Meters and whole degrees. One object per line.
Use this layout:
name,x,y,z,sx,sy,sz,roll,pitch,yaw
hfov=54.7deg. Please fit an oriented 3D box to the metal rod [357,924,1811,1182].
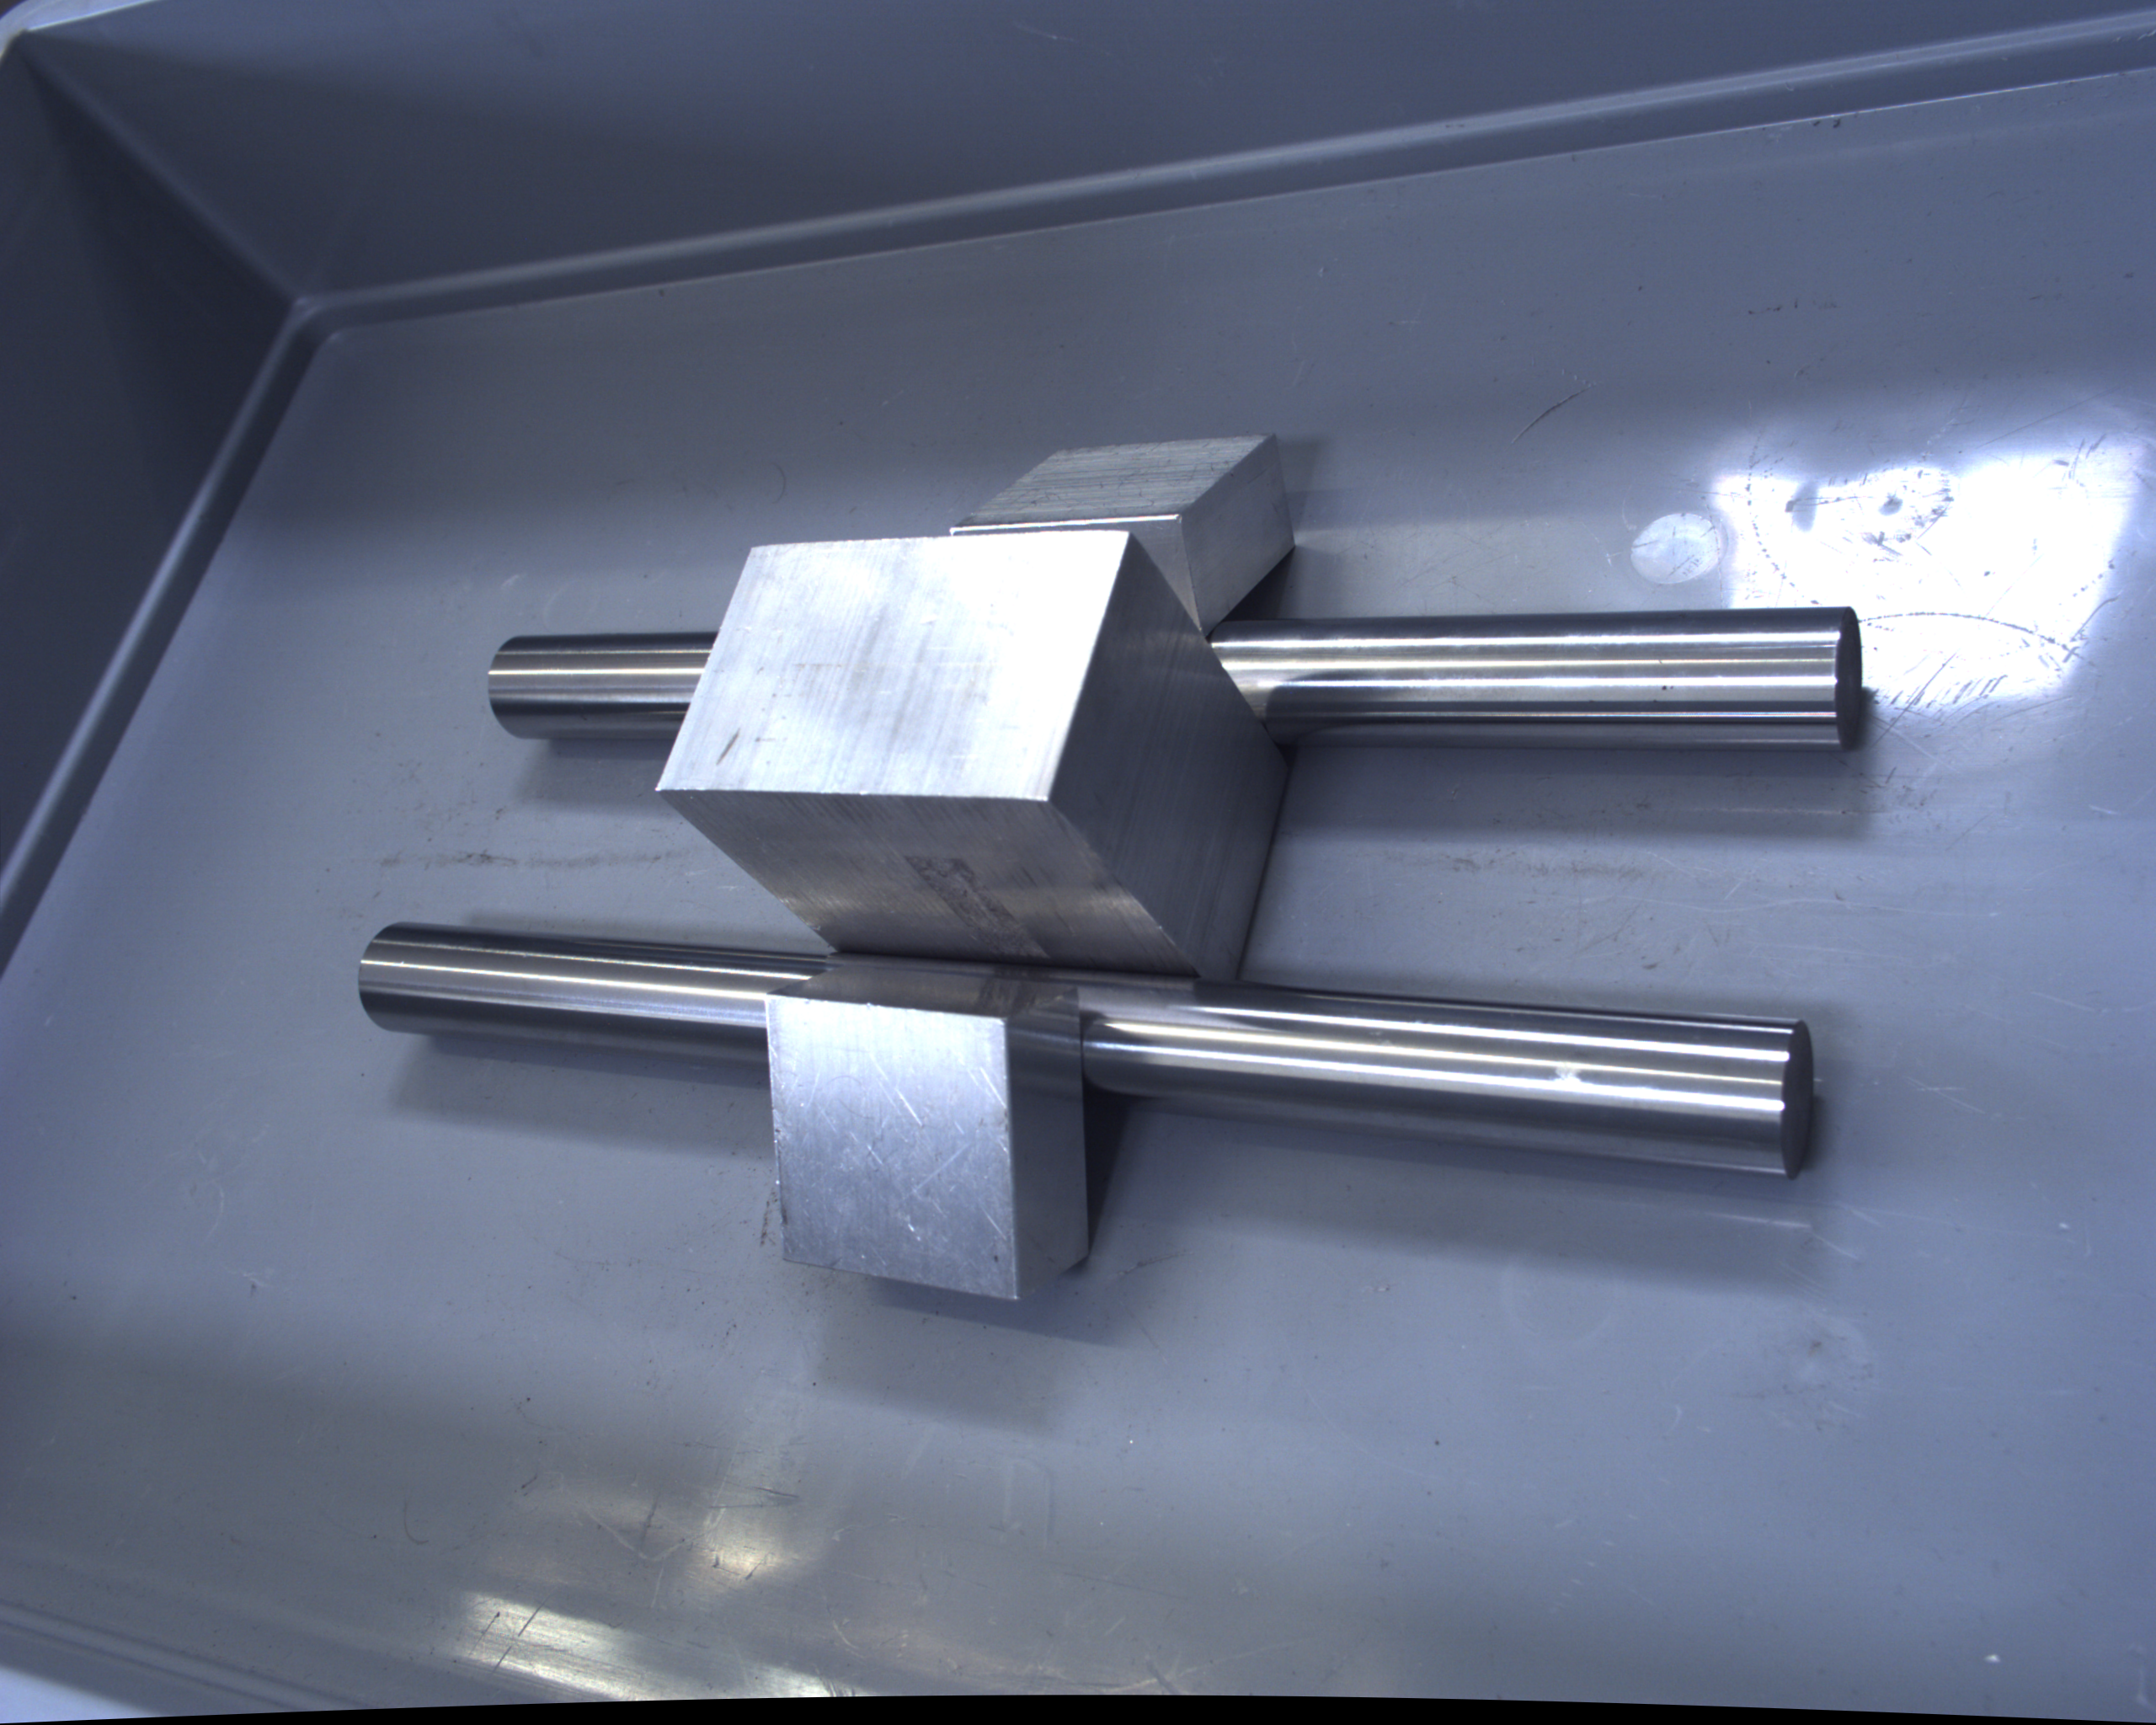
metal rod,-0.020,0.032,0.395,0.300,0.025,0.025,2,63,29

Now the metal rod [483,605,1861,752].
metal rod,-0.001,-0.036,0.426,0.300,0.025,0.025,2,63,29

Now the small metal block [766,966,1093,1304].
small metal block,-0.026,0.047,0.373,0.050,0.025,0.050,3,101,29

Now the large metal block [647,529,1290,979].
large metal block,-0.017,-0.016,0.386,0.080,0.080,0.050,2,63,29

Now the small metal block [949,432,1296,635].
small metal block,0.010,-0.066,0.424,0.050,0.025,0.050,1,28,28
